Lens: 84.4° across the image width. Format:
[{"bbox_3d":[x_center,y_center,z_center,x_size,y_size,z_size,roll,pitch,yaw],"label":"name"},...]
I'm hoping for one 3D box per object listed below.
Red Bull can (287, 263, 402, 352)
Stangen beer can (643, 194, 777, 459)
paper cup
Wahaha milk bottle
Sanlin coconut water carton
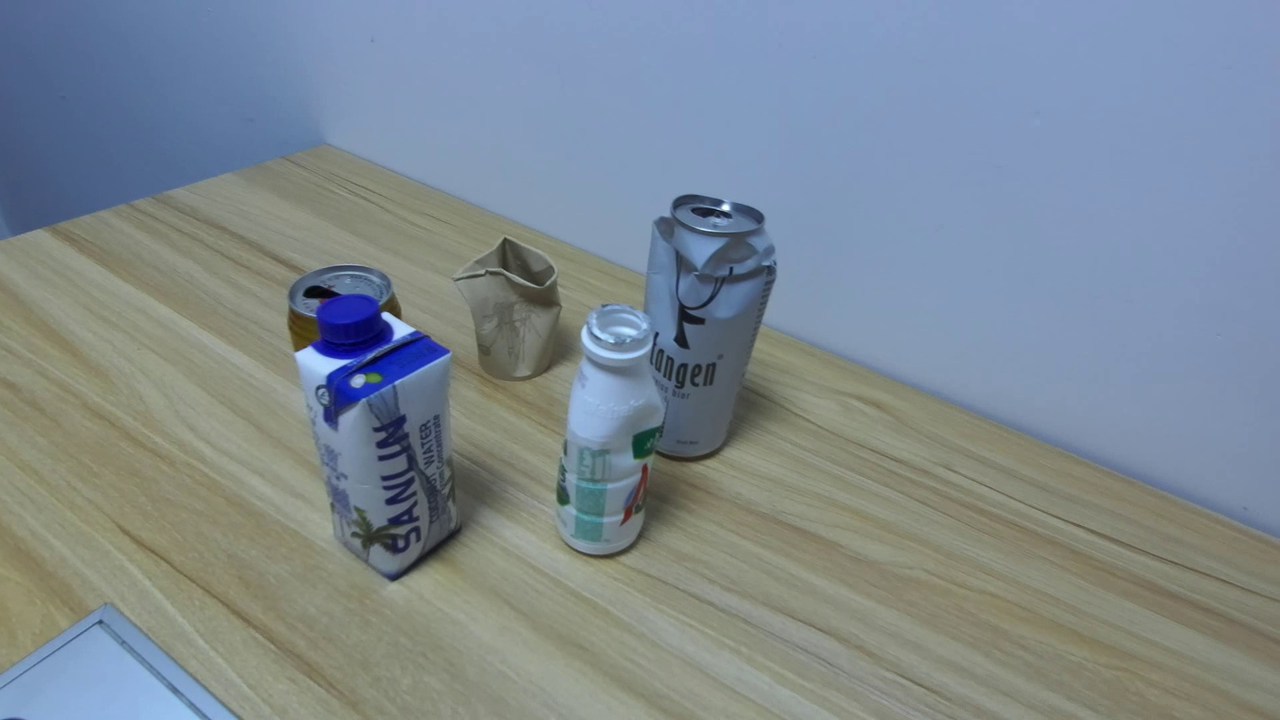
[{"bbox_3d":[-0.183,-0.006,0.449,0.067,0.093,0.067,4,37,-3],"label":"Red Bull can"},{"bbox_3d":[0.037,-0.016,0.437,0.066,0.166,0.065,-9,39,-21],"label":"Stangen beer can"},{"bbox_3d":[-0.094,-0.032,0.510,0.066,0.083,0.058,30,45,29],"label":"paper cup"},{"bbox_3d":[-0.015,0.041,0.369,0.056,0.149,0.055,5,38,-4],"label":"Wahaha milk bottle"},{"bbox_3d":[-0.128,0.040,0.357,0.060,0.144,0.061,28,41,24],"label":"Sanlin coconut water carton"}]
